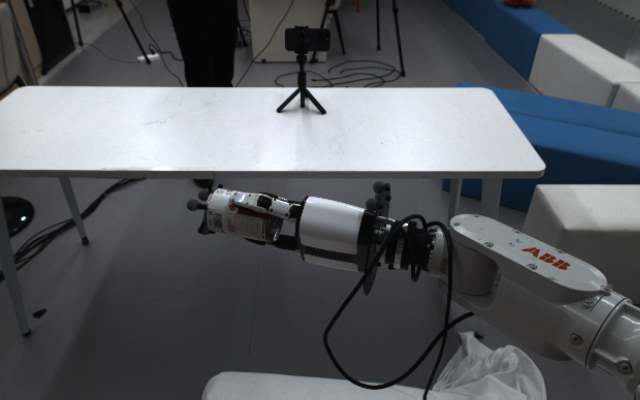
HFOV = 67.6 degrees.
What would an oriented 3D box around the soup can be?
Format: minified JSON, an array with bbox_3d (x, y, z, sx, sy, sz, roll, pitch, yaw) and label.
[{"bbox_3d":[-0.110,0.024,0.720,0.101,0.067,0.067,10,35,10],"label":"soup can"}]
